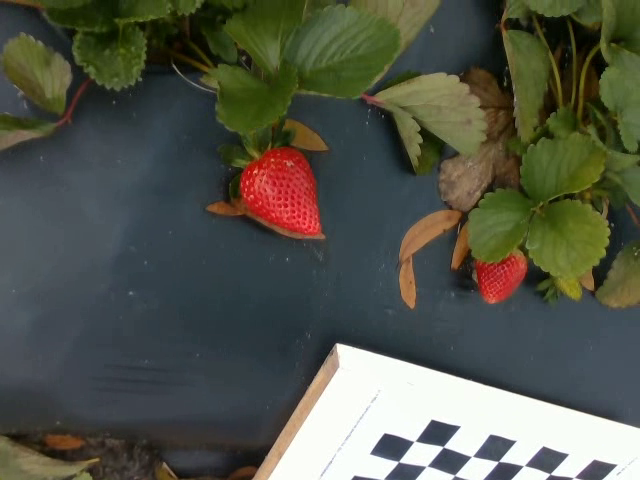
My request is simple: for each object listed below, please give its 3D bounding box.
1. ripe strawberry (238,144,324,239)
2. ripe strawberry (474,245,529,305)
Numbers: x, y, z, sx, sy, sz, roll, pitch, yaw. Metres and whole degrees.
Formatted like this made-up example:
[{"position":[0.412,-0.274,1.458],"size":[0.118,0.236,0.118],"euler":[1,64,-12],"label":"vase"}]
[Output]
[{"position":[-0.018,-0.022,0.370],"size":[0.042,0.047,0.065],"euler":[-9,52,-51],"label":"ripe strawberry"},{"position":[0.118,0.028,0.422],"size":[0.040,0.042,0.037],"euler":[28,-21,-24],"label":"ripe strawberry"}]
